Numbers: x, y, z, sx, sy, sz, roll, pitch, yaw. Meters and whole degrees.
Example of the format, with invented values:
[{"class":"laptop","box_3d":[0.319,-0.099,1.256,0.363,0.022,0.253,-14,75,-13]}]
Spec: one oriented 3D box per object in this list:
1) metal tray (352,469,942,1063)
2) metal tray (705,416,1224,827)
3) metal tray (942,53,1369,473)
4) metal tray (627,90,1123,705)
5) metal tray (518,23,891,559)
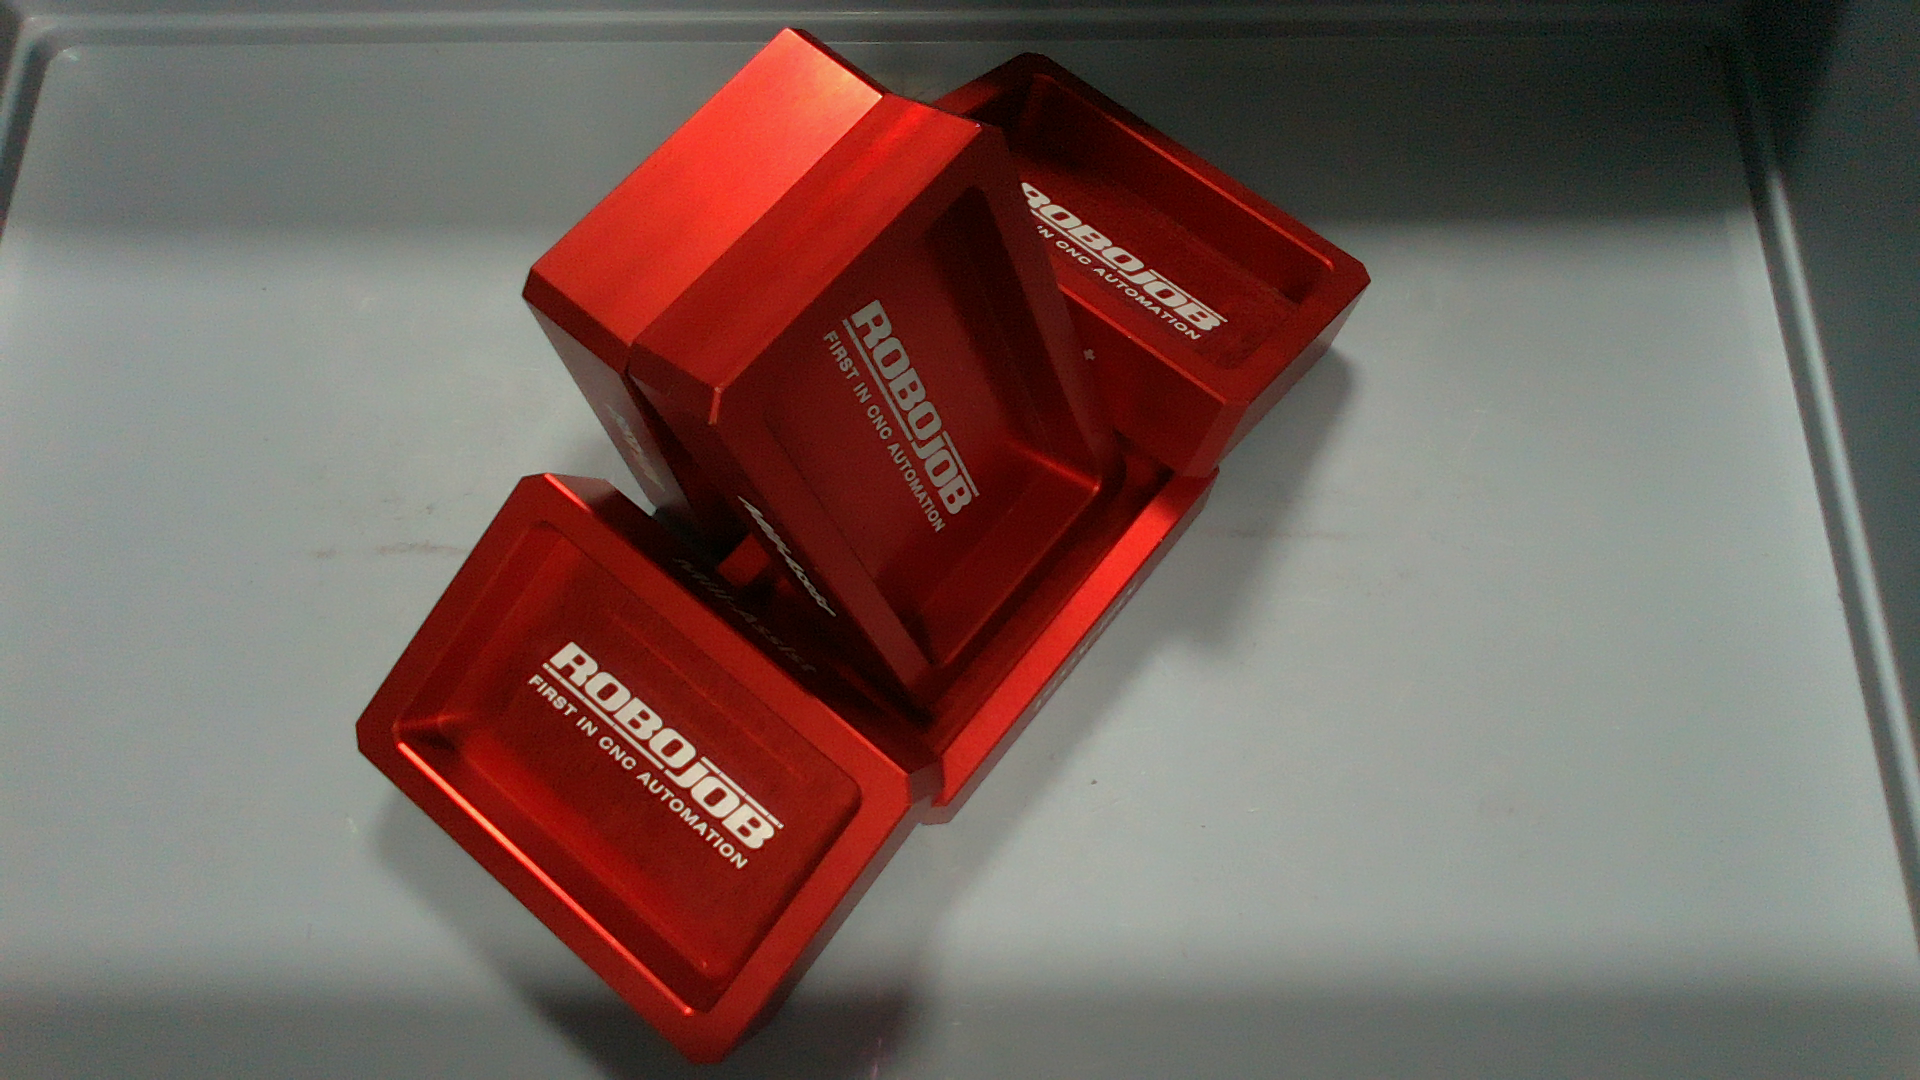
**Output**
[{"class":"metal tray","box_3d":[-0.081,0.054,0.352,0.130,0.030,0.090,38,98,12]},{"class":"metal tray","box_3d":[0.001,0.003,0.389,0.090,0.030,0.130,37,74,12]},{"class":"metal tray","box_3d":[0.044,-0.086,0.404,0.130,0.030,0.090,37,49,13]},{"class":"metal tray","box_3d":[-0.012,-0.028,0.335,0.030,0.130,0.090,30,71,35]},{"class":"metal tray","box_3d":[-0.053,-0.056,0.357,0.030,0.130,0.090,38,75,14]}]
